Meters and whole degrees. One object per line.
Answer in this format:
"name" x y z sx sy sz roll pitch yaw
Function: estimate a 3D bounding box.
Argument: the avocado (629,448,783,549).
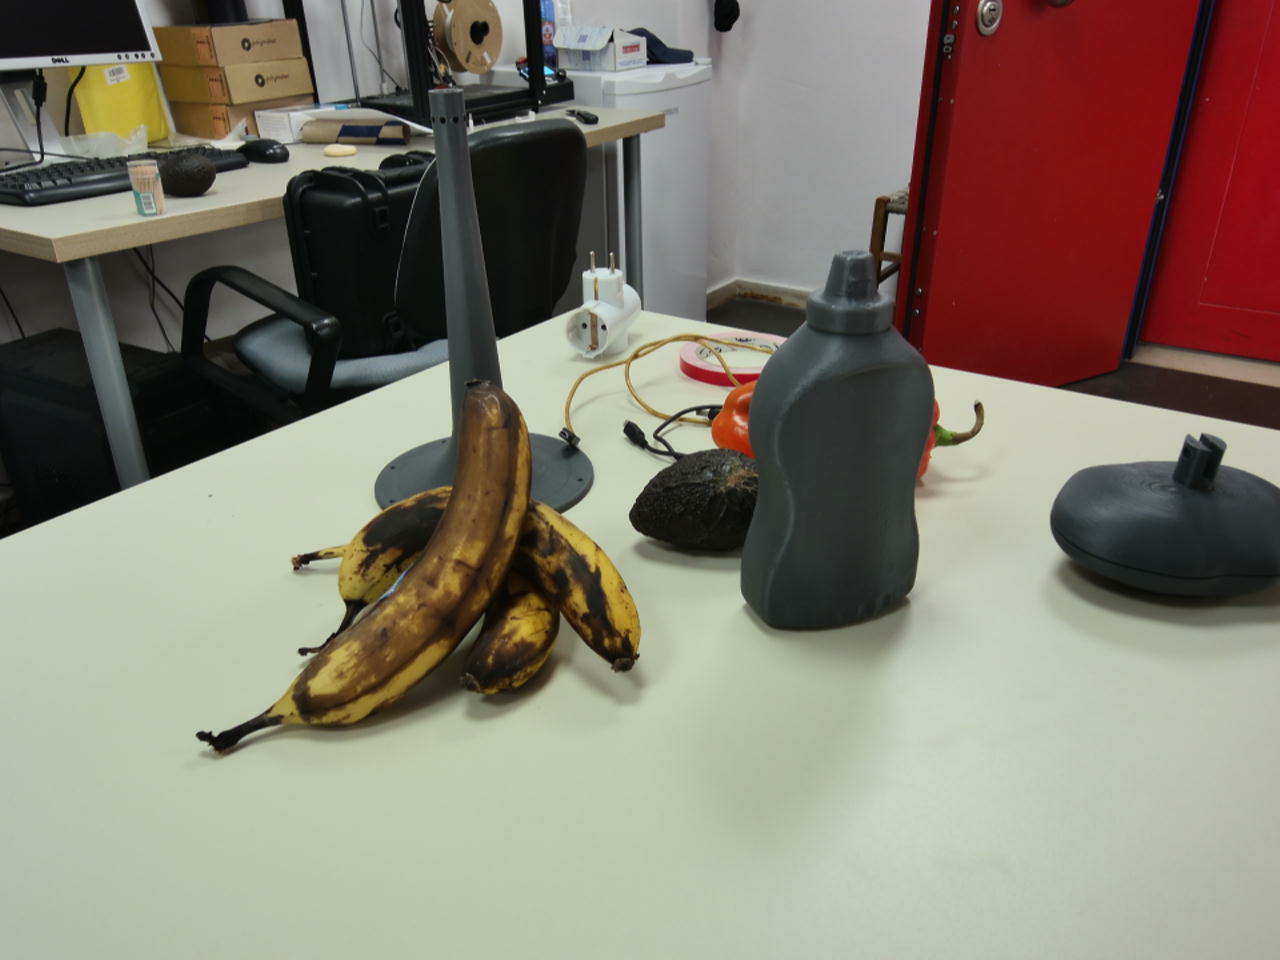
"avocado" 0.041 0.011 0.612 0.092 0.062 0.062 6 26 11
